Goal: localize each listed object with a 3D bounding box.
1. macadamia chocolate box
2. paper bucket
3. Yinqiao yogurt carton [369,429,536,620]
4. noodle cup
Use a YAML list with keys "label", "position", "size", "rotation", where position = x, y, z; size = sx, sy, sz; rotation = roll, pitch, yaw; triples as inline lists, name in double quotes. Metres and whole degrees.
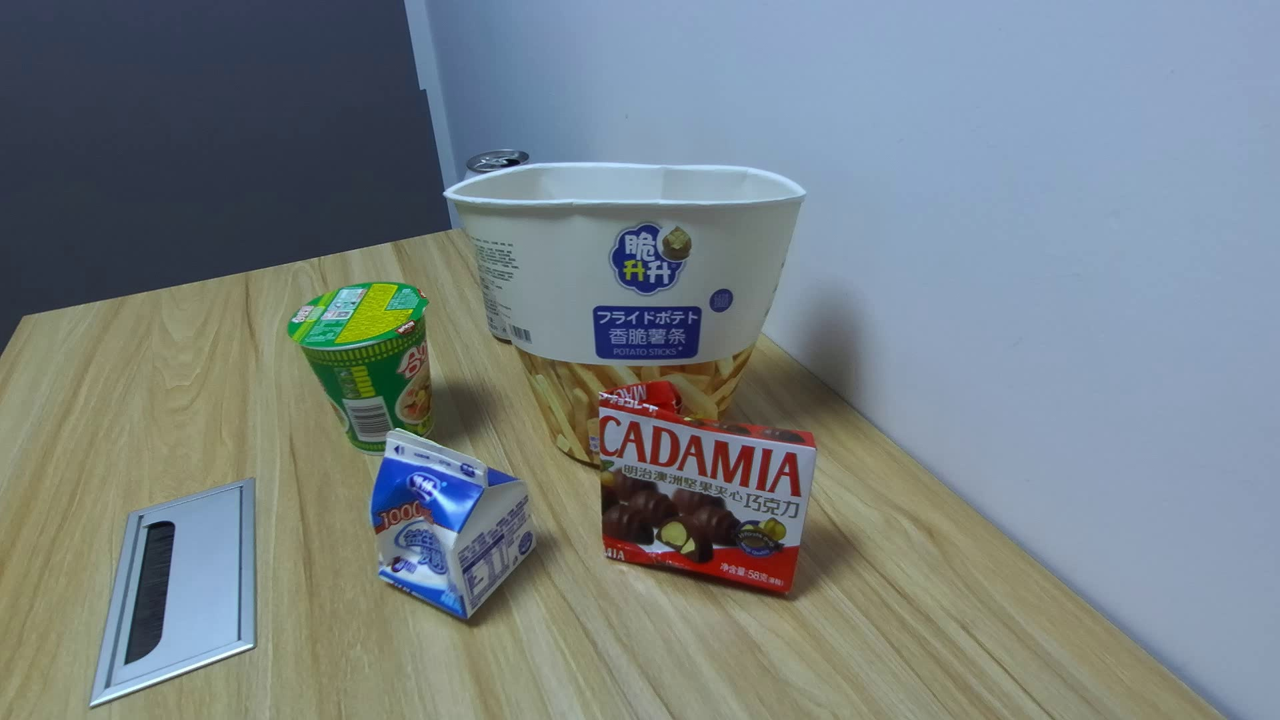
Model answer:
- label: "macadamia chocolate box"
  position: [0.039, 0.076, 0.427]
  size: [0.126, 0.112, 0.056]
  rotation: [10, 34, 18]
- label: "paper bucket"
  position: [-0.010, -0.039, 0.522]
  size: [0.218, 0.199, 0.147]
  rotation: [-13, 35, -15]
- label: "Yinqiao yogurt carton"
  position: [-0.117, 0.091, 0.433]
  size: [0.077, 0.094, 0.071]
  rotation: [14, 30, 24]
- label: "noodle cup"
  position: [-0.204, 0.011, 0.545]
  size: [0.097, 0.110, 0.097]
  rotation: [-1, 32, 1]
